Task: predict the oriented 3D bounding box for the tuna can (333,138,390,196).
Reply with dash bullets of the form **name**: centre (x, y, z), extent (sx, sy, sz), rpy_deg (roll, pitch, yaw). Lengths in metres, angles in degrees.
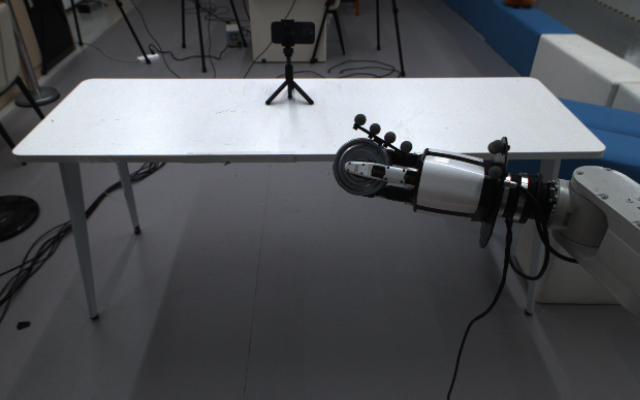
- **tuna can**: centre (0.066, -0.043, 0.717), extent (0.085, 0.085, 0.034), rpy_deg (13, 4, 15)
